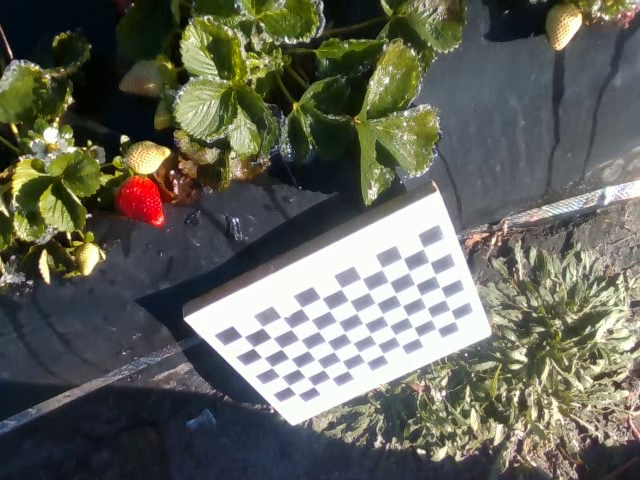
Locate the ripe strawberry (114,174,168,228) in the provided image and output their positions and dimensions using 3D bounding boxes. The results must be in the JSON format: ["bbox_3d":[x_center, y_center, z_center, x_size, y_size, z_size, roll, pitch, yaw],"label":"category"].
[{"bbox_3d":[-0.141,-0.027,0.505,0.053,0.040,0.042,46,30,26],"label":"ripe strawberry"}]
